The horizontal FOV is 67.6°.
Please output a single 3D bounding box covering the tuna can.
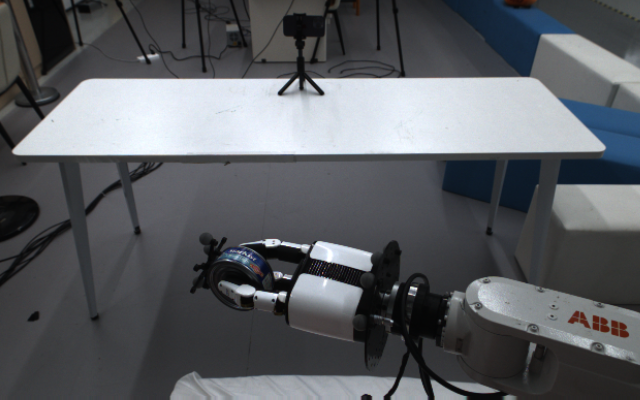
[{"bbox_3d":[-0.104,0.108,0.641,0.085,0.085,0.034,12,30,14],"label":"tuna can"}]
